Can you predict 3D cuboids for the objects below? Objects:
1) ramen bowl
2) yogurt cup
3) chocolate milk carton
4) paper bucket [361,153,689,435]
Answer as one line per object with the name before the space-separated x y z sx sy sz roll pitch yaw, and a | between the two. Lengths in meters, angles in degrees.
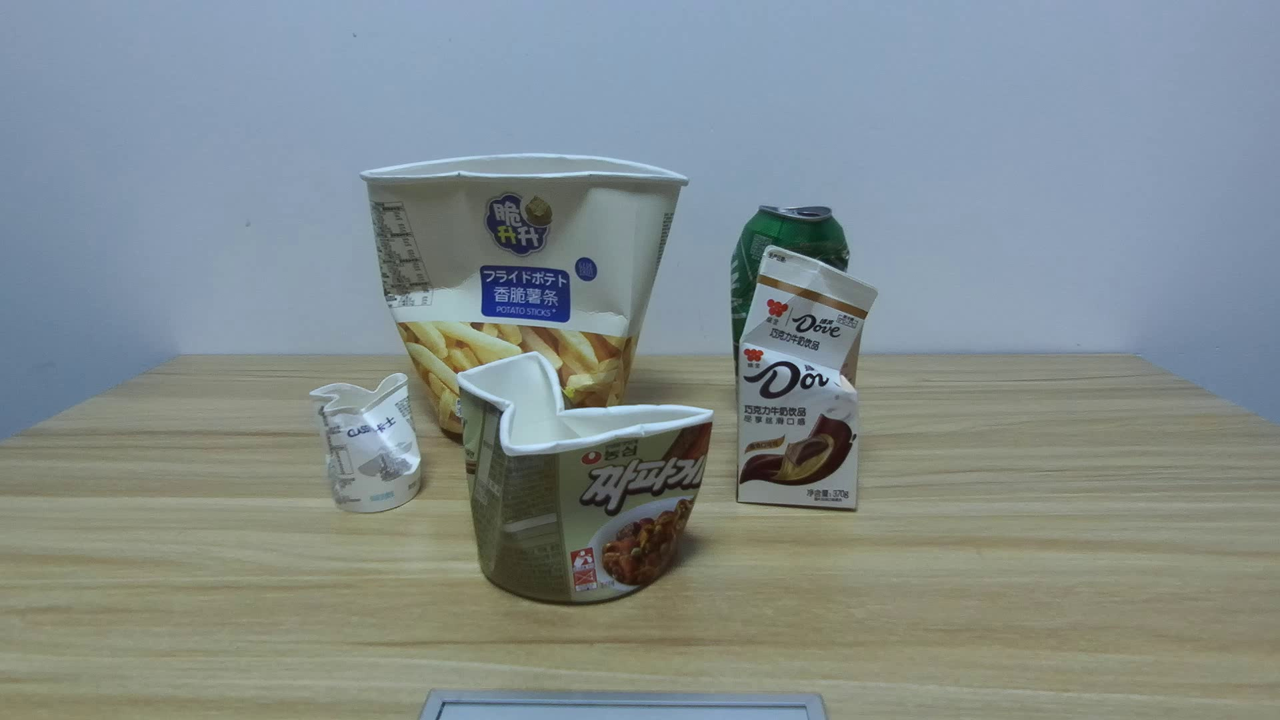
ramen bowl | -0.037 0.057 0.384 0.112 0.093 0.127 -11 22 -25
yogurt cup | -0.169 0.051 0.442 0.055 0.072 0.055 -12 21 -28
chocolate milk carton | 0.099 0.007 0.430 0.076 0.155 0.073 3 22 9
paper bucket | -0.085 -0.050 0.536 0.218 0.199 0.147 -6 21 -15
